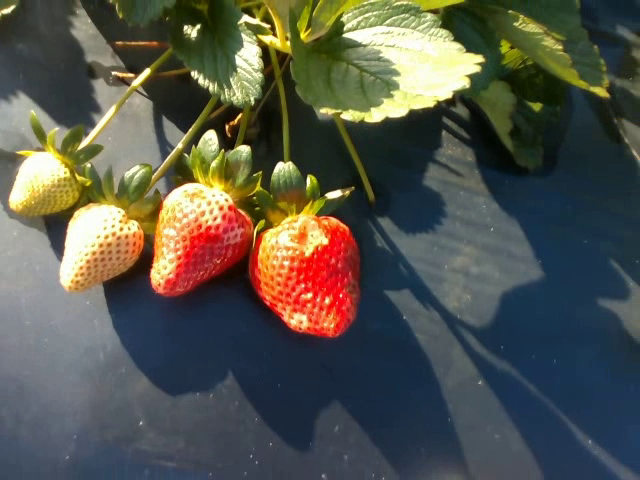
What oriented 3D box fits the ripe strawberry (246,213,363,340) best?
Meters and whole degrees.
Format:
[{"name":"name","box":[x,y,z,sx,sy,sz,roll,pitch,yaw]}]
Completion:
[{"name":"ripe strawberry","box":[-0.001,0.018,0.245,0.056,0.067,0.052,-28,-33,8]}]

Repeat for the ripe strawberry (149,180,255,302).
[{"name":"ripe strawberry","box":[-0.052,0.000,0.240,0.050,0.061,0.043,42,-31,-20]}]
